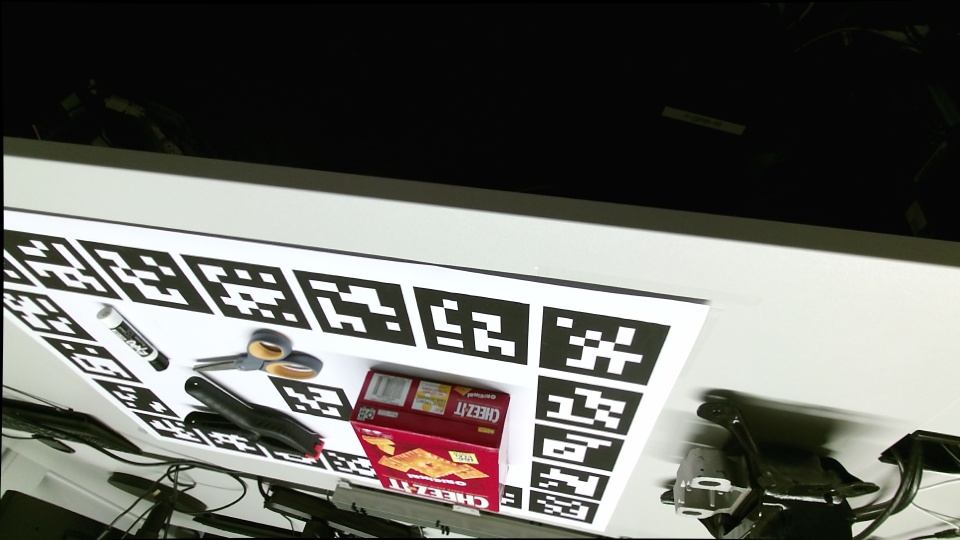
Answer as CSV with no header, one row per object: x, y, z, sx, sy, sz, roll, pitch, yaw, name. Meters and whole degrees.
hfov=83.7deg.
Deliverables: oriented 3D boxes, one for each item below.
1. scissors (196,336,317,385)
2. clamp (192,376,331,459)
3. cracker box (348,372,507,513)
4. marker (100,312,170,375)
-0.280,0.115,0.639,0.203,0.016,0.088,-13,134,33,scissors
-0.320,0.229,0.792,0.203,0.036,0.165,27,140,-13,clamp
-0.053,0.216,0.645,0.165,0.071,0.214,8,140,9,cracker box
-0.420,0.095,0.659,0.020,0.019,0.121,5,140,12,marker
